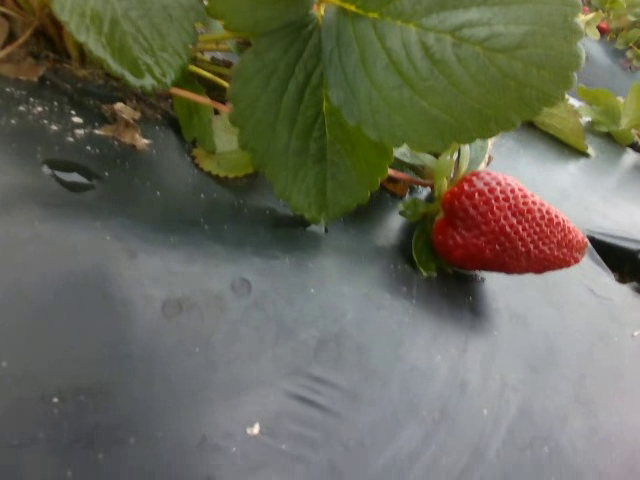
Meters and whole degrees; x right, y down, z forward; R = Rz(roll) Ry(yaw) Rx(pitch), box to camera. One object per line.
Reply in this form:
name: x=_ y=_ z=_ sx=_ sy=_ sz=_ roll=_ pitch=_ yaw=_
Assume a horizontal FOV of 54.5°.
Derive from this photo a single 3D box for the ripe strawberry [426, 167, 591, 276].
ripe strawberry: x=0.073 y=-0.003 z=0.241 sx=0.064 sy=0.046 sz=0.048 roll=25 pitch=-3 yaw=23
